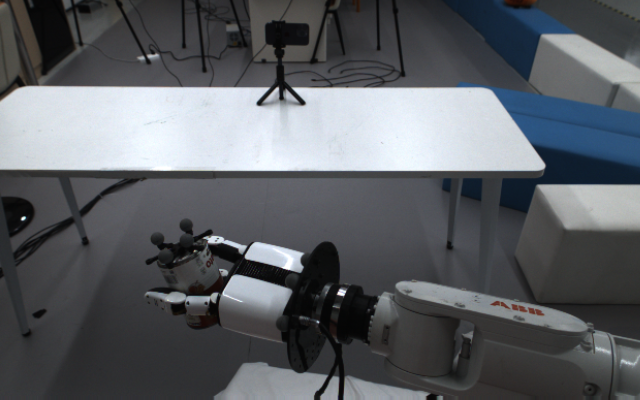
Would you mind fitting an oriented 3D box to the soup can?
[{"bbox_3d":[-0.160,0.110,0.634,0.067,0.101,0.067,-16,23,7],"label":"soup can"}]
